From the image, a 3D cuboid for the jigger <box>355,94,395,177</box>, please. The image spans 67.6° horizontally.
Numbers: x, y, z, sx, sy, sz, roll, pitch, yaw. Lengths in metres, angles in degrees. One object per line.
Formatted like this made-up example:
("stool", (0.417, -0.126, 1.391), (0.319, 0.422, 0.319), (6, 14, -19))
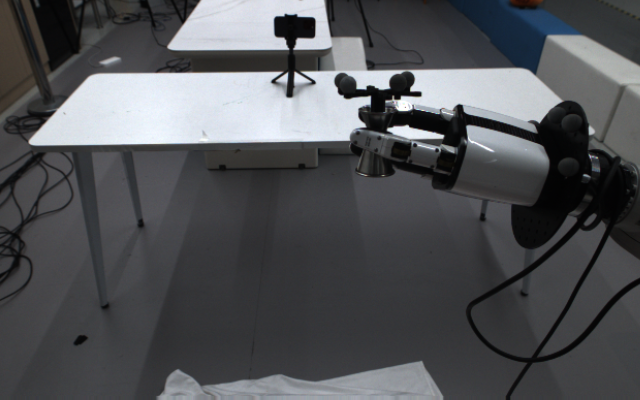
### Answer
("jigger", (0.060, -0.062, 0.518), (0.043, 0.071, 0.043), (0, 21, 0))
